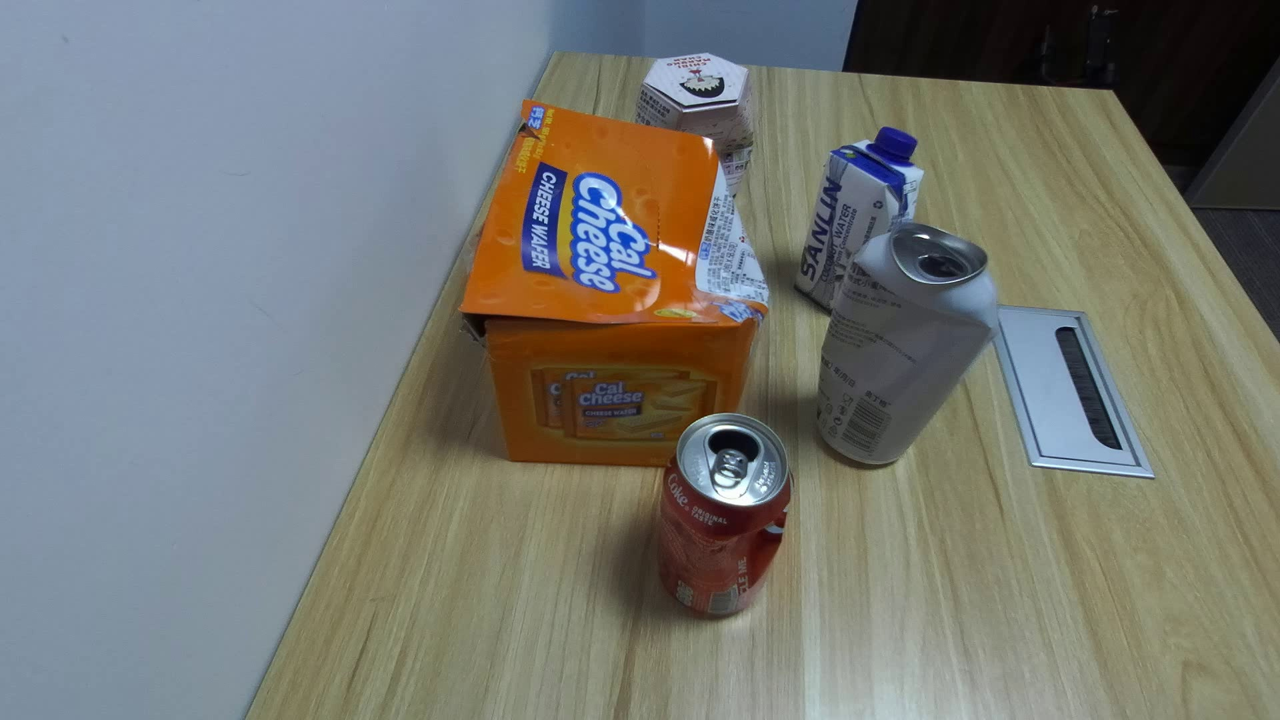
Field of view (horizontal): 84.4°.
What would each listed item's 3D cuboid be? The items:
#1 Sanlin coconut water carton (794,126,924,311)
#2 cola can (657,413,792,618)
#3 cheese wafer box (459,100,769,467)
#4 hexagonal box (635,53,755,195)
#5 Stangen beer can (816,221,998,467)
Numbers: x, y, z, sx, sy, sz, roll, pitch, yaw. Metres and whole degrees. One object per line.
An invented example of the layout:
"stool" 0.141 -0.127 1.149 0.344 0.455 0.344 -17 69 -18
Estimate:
"Sanlin coconut water carton" 0.167 -0.104 0.537 0.058 0.142 0.077 -26 53 -30
"cola can" 0.043 0.084 0.378 0.066 0.117 0.066 -30 57 -25
"cheese wafer box" -0.002 -0.057 0.488 0.191 0.145 0.218 1 48 1
"hexagonal box" 0.047 -0.181 0.609 0.091 0.134 0.090 21 53 16
"Stangen beer can" 0.156 -0.004 0.431 0.077 0.162 0.065 0 48 -3
